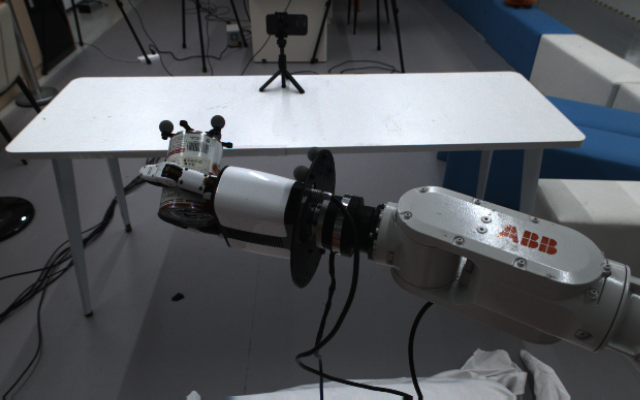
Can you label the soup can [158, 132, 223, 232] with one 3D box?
[{"bbox_3d":[-0.155,-0.024,0.589,0.067,0.067,0.101,1,68,-1],"label":"soup can"}]
